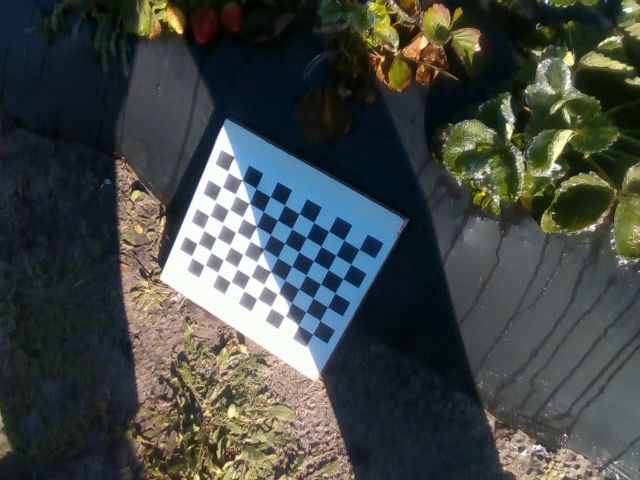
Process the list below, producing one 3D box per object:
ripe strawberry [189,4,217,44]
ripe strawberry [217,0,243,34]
[{"bbox_3d":[-0.144,-0.269,0.743,0.036,0.052,0.040,-8,-30,20],"label":"ripe strawberry"},{"bbox_3d":[-0.107,-0.284,0.746,0.036,0.041,0.030,-34,-7,22],"label":"ripe strawberry"}]
